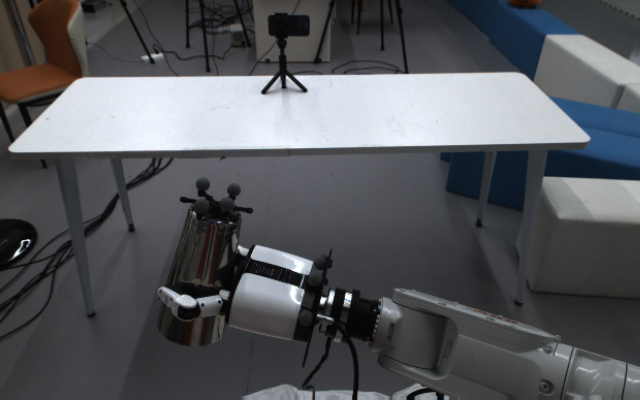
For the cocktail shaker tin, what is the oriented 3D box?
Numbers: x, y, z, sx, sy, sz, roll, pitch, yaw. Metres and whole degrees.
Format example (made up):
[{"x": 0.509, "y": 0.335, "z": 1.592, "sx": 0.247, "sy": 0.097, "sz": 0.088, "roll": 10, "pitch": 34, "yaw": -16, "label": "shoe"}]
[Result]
[{"x": -0.150, "y": 0.091, "z": 0.625, "sx": 0.093, "sy": 0.170, "sz": 0.093, "roll": 15, "pitch": 20, "yaw": -5, "label": "cocktail shaker tin"}]
